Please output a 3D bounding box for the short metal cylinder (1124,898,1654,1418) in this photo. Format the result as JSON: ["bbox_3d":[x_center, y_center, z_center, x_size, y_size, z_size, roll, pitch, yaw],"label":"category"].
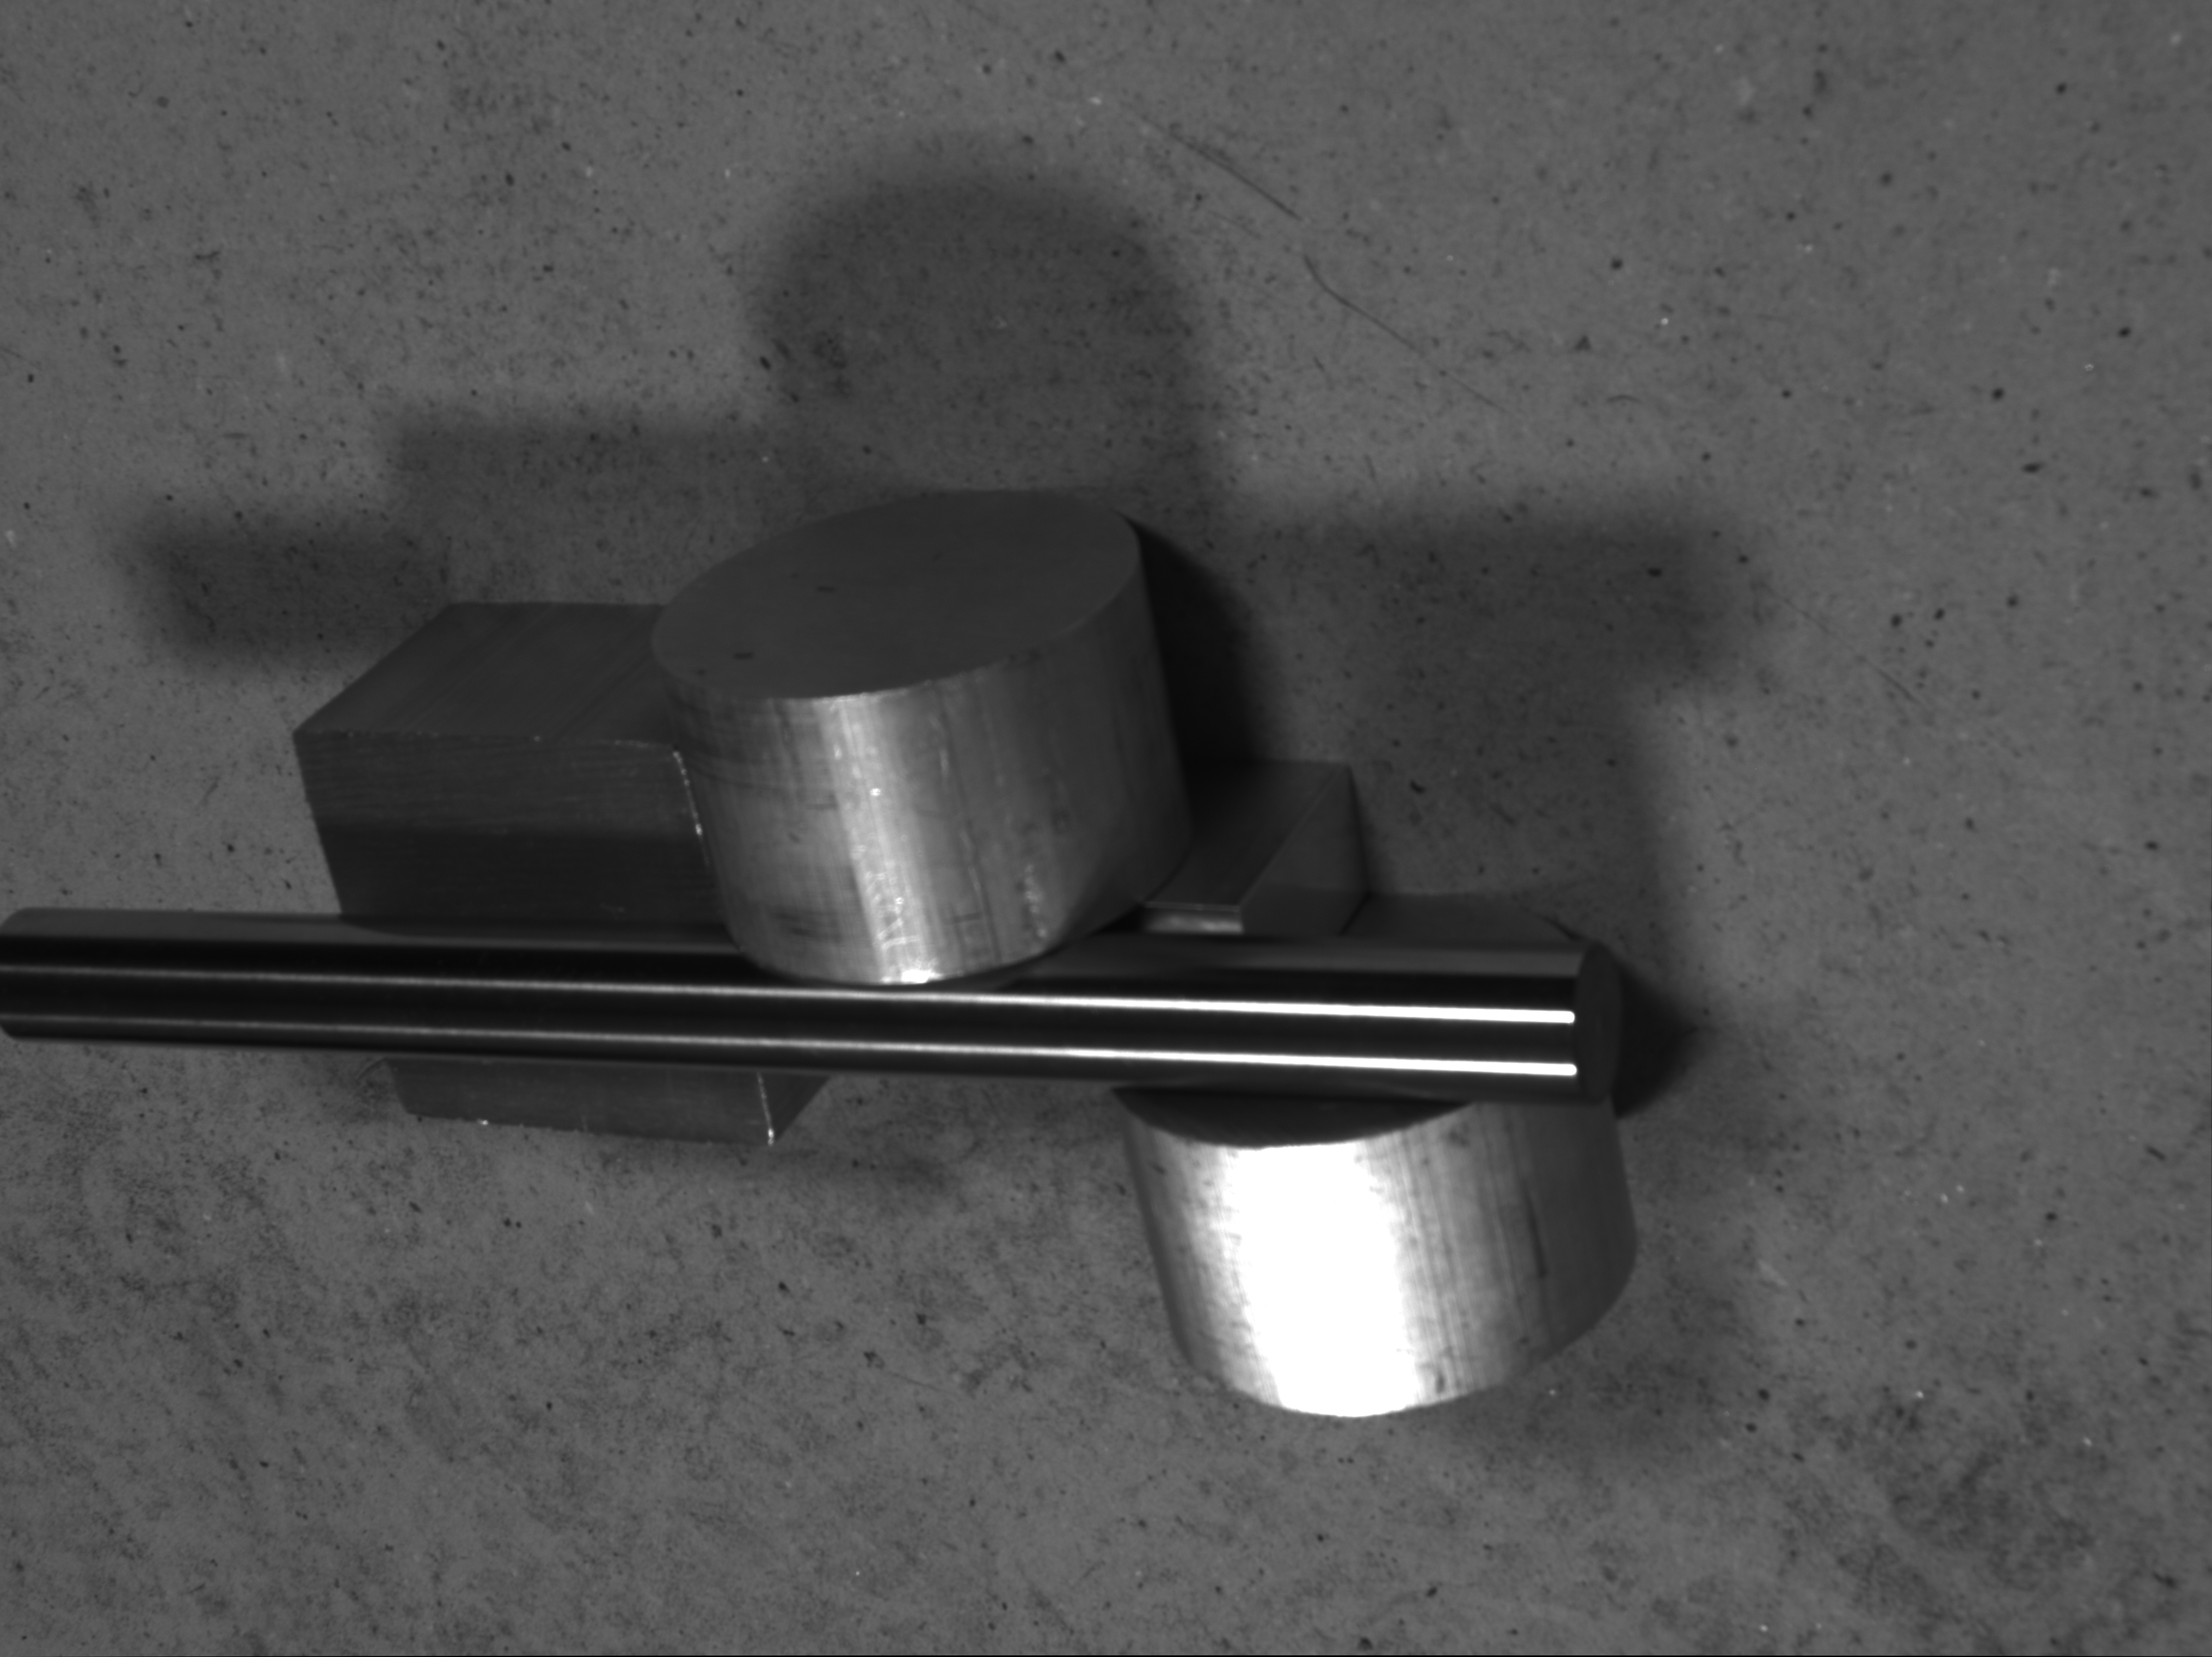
[{"bbox_3d":[0.047,0.053,0.604,0.080,0.080,0.050,0,118,27],"label":"short metal cylinder"}]

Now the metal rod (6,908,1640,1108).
[{"bbox_3d":[-0.059,0.028,0.613,0.299,0.025,0.025,1,118,25],"label":"metal rod"}]

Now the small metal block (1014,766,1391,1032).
[{"bbox_3d":[0.014,0.012,0.614,0.050,0.050,0.025,1,119,26],"label":"small metal block"}]

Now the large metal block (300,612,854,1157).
[{"bbox_3d":[-0.088,0.009,0.661,0.080,0.050,0.080,3,120,25],"label":"large metal block"}]

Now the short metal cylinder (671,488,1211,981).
[{"bbox_3d":[-0.026,-0.017,0.600,0.080,0.080,0.050,2,119,26],"label":"short metal cylinder"}]
